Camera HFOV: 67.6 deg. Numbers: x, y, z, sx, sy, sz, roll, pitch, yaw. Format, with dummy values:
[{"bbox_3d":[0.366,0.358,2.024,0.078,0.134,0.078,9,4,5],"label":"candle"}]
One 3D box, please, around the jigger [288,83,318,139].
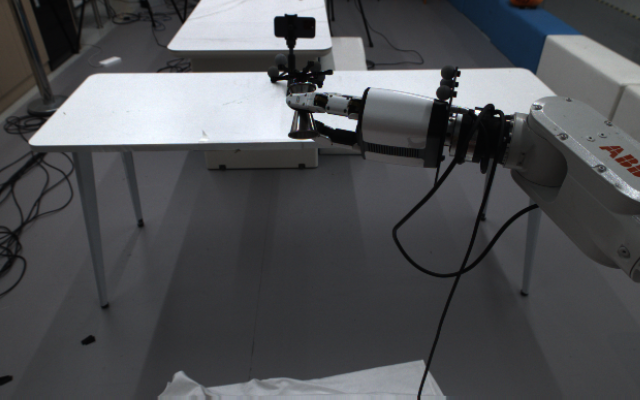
[{"bbox_3d":[-0.024,-0.123,0.664,0.043,0.071,0.043,-2,-7,0],"label":"jigger"}]
